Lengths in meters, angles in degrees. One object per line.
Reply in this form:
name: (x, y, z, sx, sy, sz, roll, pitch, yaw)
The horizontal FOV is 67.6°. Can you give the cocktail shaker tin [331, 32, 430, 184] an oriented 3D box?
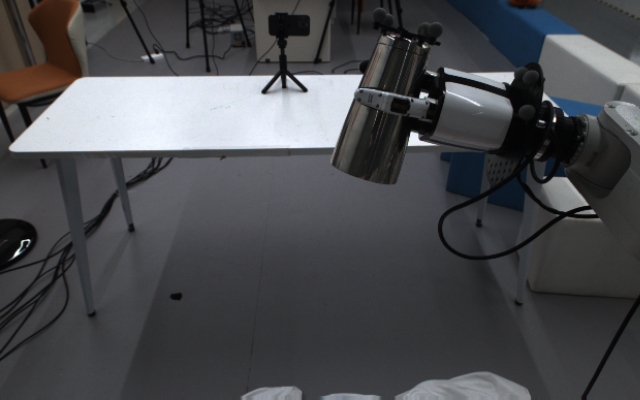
cocktail shaker tin: (0.081, -0.116, 0.613, 0.093, 0.170, 0.093, 15, 17, -5)
